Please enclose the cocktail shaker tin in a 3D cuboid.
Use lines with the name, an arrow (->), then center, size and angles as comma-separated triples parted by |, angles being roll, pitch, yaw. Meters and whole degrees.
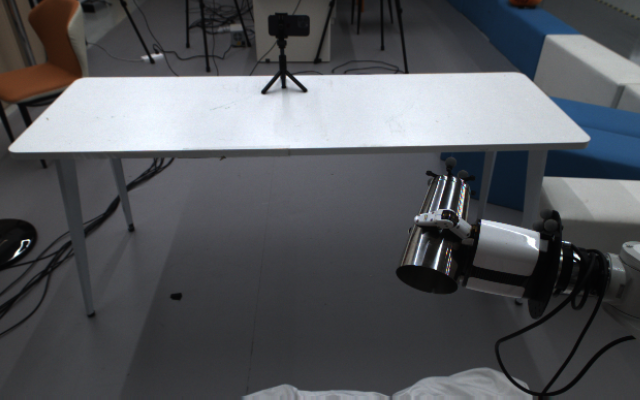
cocktail shaker tin -> 0.182, 0.047, 0.745 | 0.093, 0.093, 0.170 | 14, 60, 17
